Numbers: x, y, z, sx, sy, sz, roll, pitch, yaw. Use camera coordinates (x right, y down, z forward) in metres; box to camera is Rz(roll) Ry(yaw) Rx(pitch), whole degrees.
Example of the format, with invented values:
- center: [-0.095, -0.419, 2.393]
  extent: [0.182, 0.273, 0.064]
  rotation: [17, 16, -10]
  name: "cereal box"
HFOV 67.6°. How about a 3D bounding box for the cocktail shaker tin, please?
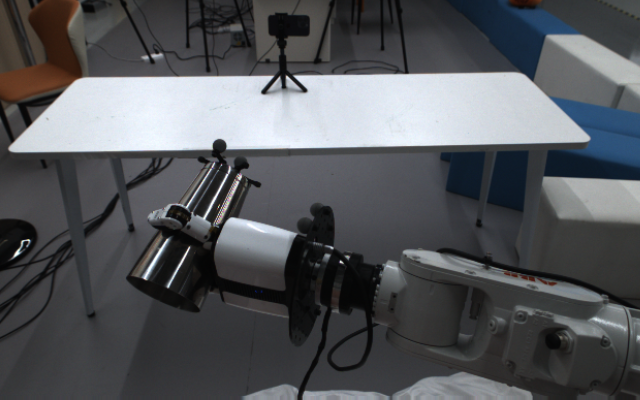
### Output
- center: [-0.151, 0.041, 0.590]
  extent: [0.093, 0.093, 0.170]
  rotation: [14, 61, 17]
  name: "cocktail shaker tin"
